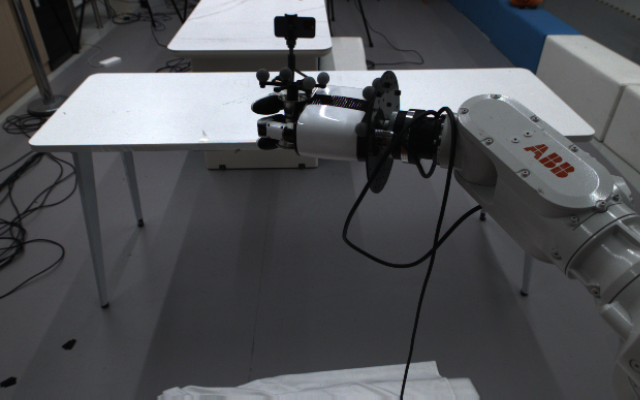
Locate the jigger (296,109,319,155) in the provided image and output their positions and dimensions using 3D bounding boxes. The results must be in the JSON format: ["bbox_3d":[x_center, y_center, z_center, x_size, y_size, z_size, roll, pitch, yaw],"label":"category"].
[{"bbox_3d":[-0.036,-0.110,0.677,0.043,0.071,0.043,3,25,-1],"label":"jigger"}]
